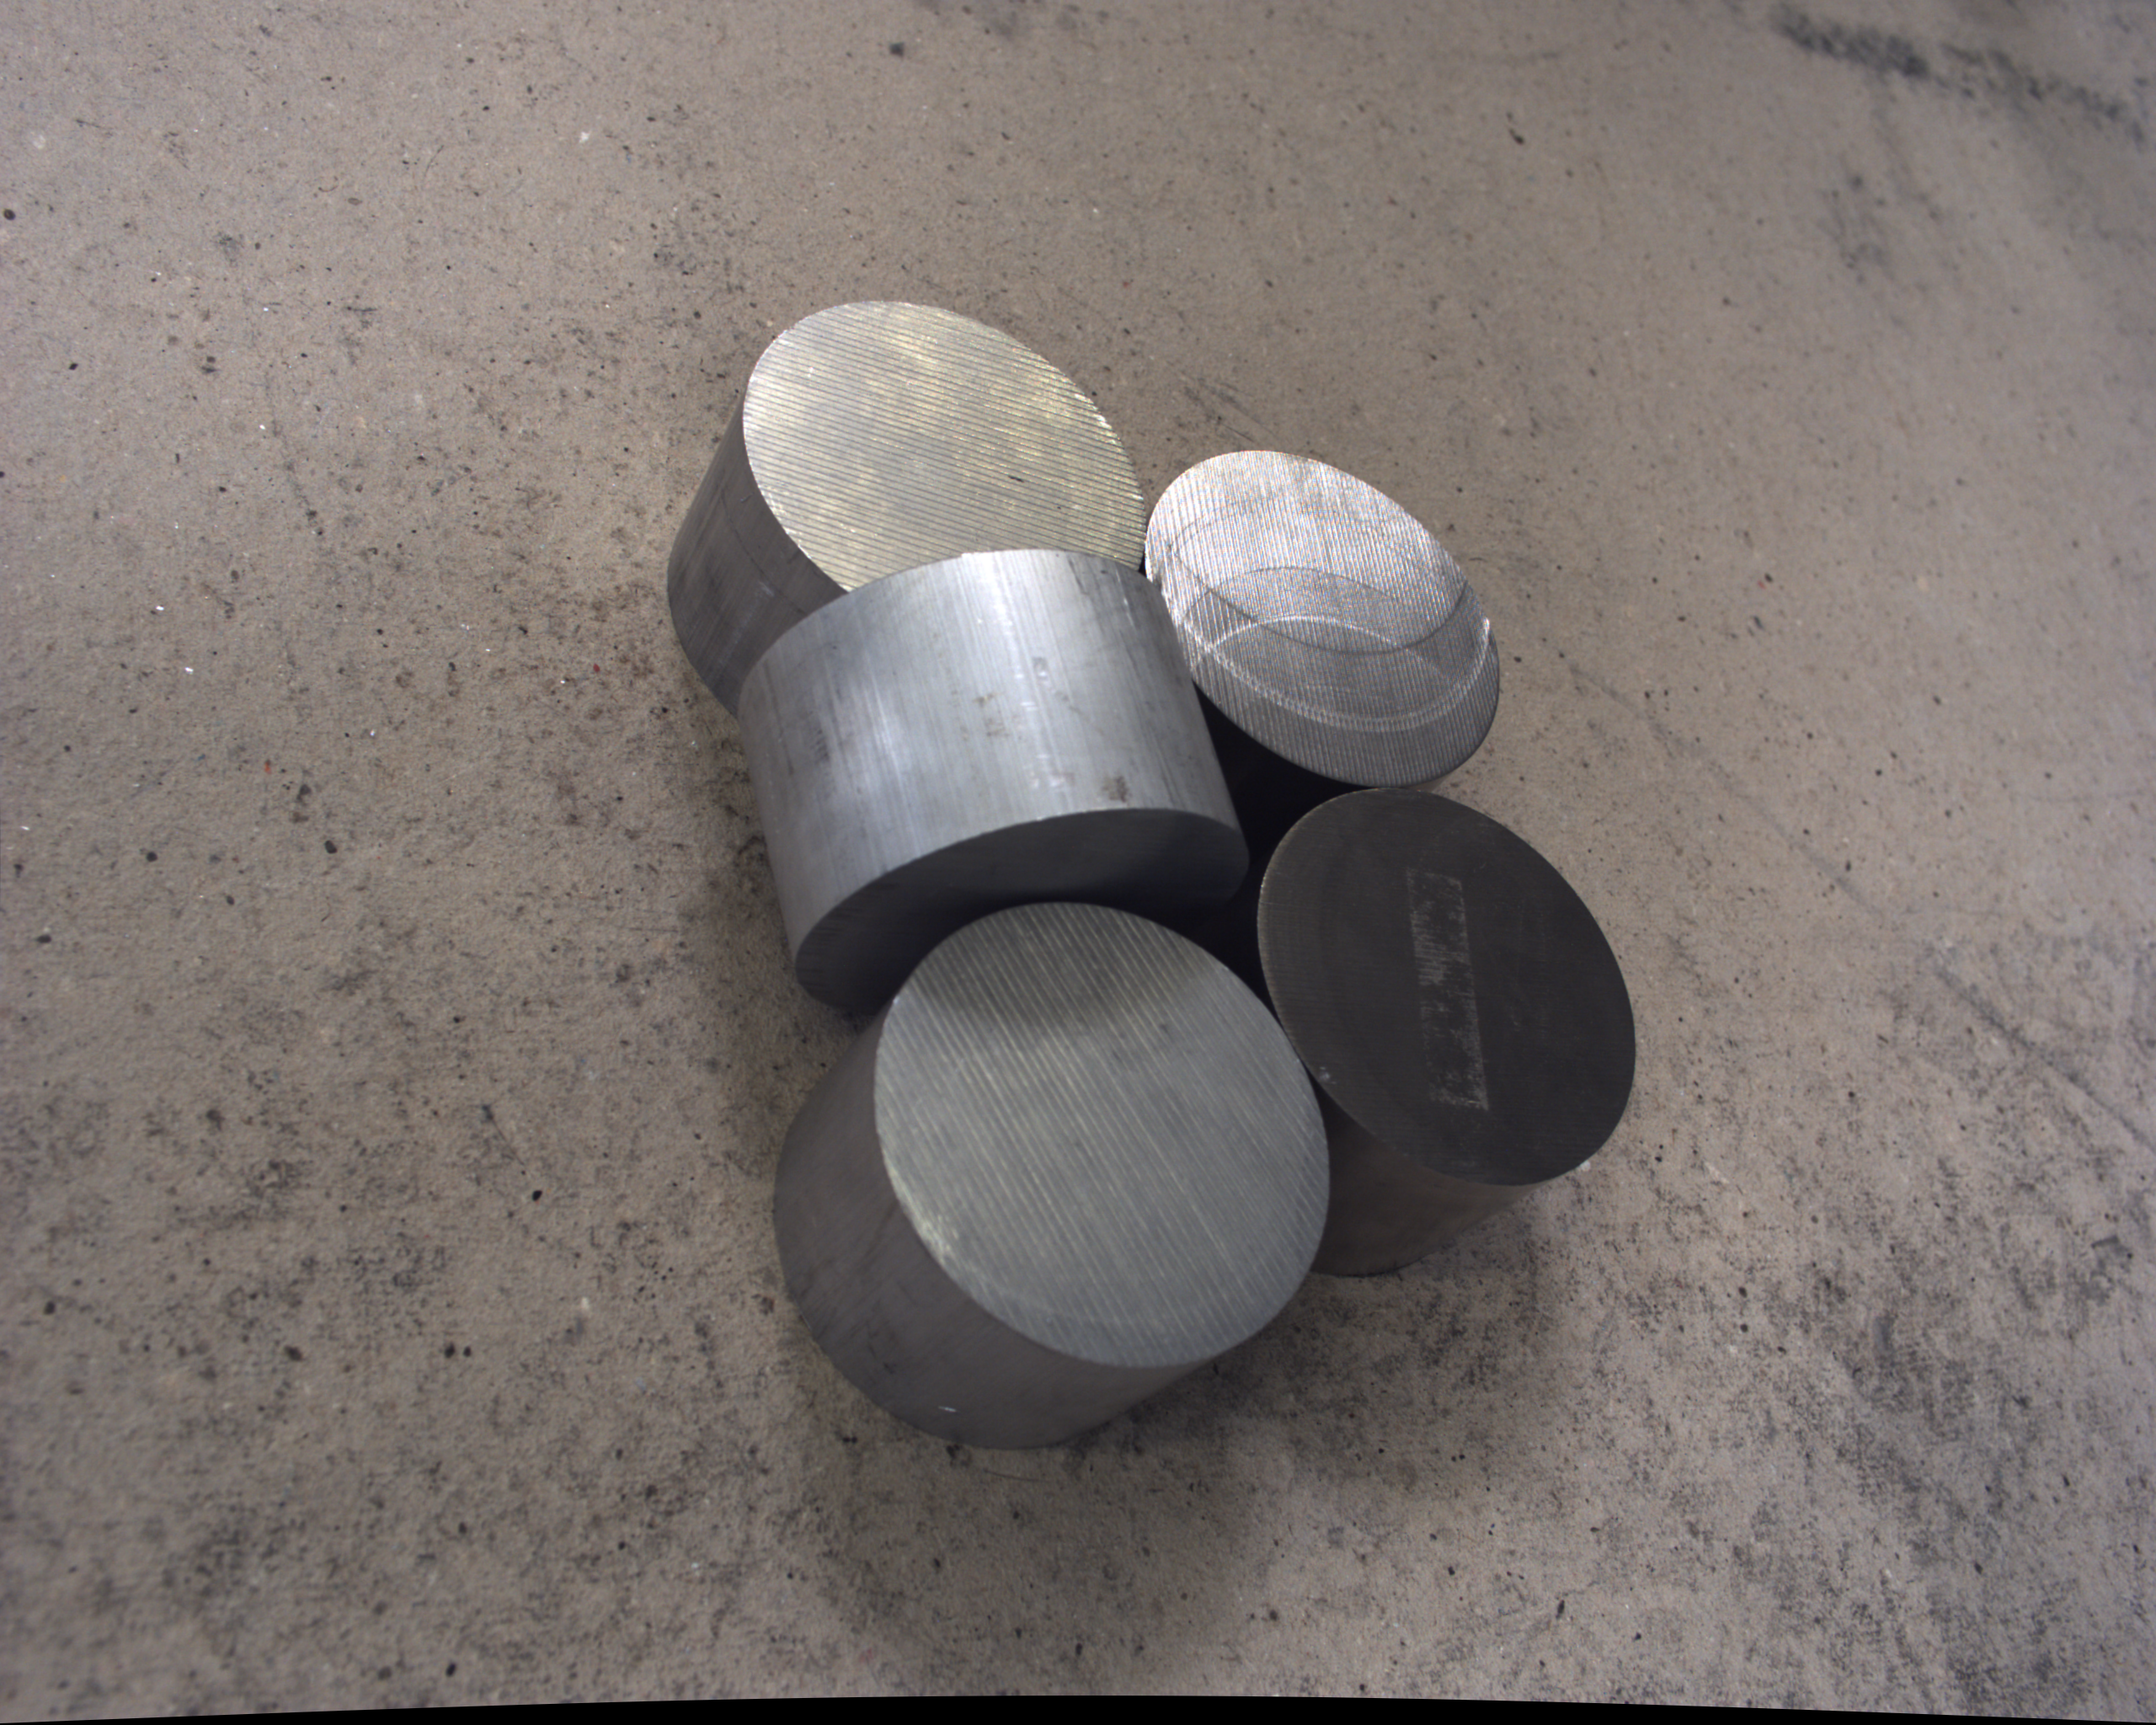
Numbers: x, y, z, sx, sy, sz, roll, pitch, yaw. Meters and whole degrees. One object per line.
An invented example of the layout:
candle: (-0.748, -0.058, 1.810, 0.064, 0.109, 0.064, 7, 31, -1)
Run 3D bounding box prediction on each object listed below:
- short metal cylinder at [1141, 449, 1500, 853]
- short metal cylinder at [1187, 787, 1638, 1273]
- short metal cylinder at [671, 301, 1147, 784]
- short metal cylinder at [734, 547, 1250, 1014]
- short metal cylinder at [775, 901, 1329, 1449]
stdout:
short metal cylinder: (0.039, -0.038, 0.433, 0.081, 0.050, 0.080, 13, 57, -21)
short metal cylinder: (0.058, 0.032, 0.400, 0.081, 0.050, 0.080, 13, 57, -20)
short metal cylinder: (-0.034, -0.062, 0.409, 0.081, 0.050, 0.080, 13, 57, -20)
short metal cylinder: (-0.016, -0.012, 0.369, 0.081, 0.080, 0.050, -3, 64, -30)
short metal cylinder: (-0.005, 0.053, 0.354, 0.081, 0.050, 0.080, 13, 57, -20)
